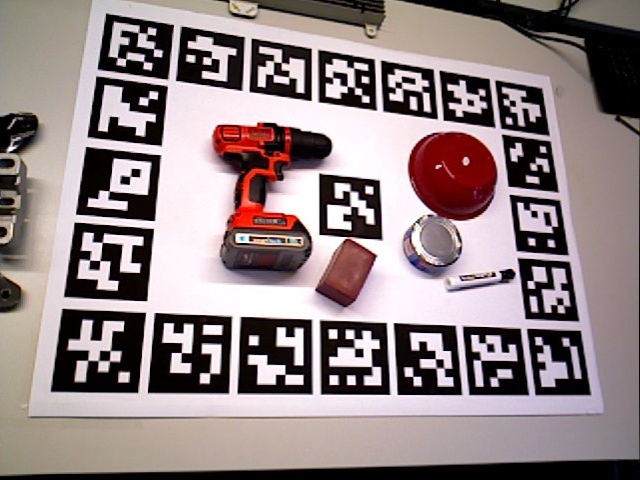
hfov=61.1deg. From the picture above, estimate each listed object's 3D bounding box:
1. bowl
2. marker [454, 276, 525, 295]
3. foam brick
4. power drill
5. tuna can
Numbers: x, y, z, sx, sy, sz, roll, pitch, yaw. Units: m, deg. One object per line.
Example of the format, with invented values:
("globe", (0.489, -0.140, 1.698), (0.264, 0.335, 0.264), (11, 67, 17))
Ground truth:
("bowl", (0.228, -0.108, 0.870), (0.160, 0.056, 0.160), (5, 64, -11))
("marker", (0.261, 0.069, 0.829), (0.119, 0.020, 0.019), (-4, 75, -18))
("foam brick", (0.044, 0.054, 0.763), (0.051, 0.054, 0.077), (28, 68, -7))
("power drill", (-0.065, -0.065, 0.765), (0.182, 0.058, 0.185), (5, 69, -18))
("tuna can", (0.181, 0.010, 0.818), (0.085, 0.034, 0.085), (6, 71, -17))
